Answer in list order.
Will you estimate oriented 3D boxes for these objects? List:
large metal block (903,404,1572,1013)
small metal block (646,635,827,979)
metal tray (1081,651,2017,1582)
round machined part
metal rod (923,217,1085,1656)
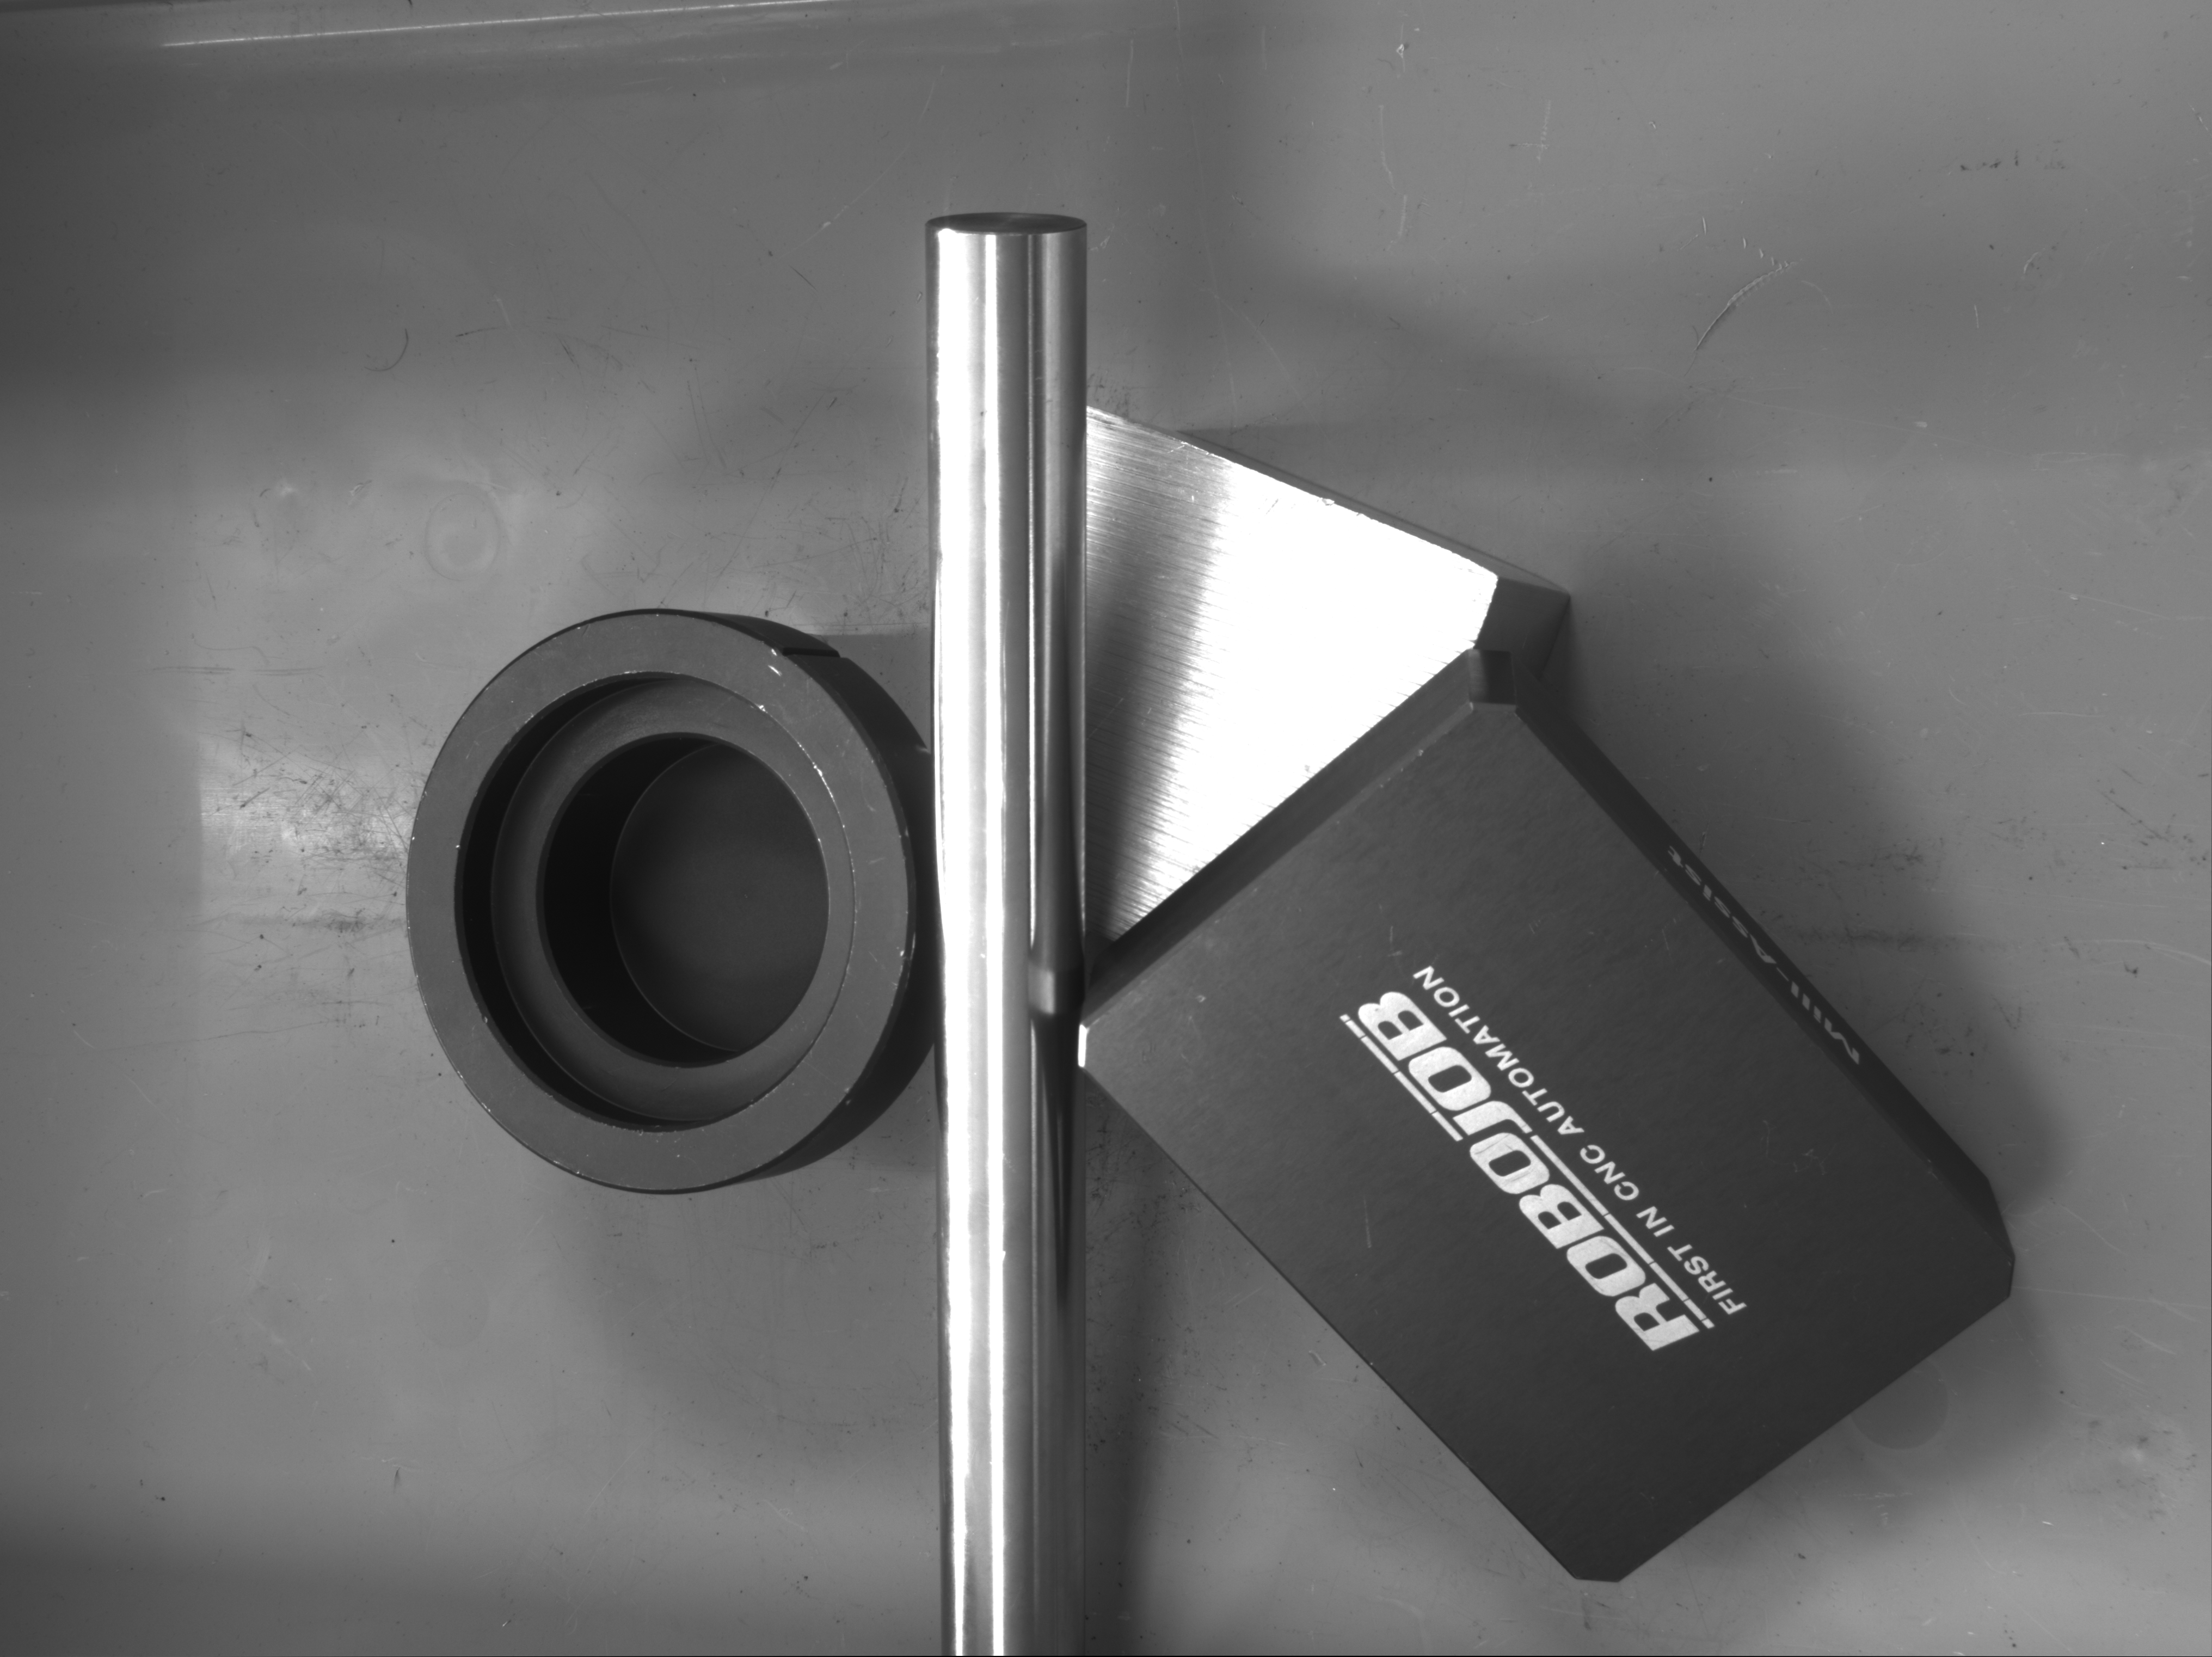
[{"bbox_3d":[0.022,-0.019,0.625,0.080,0.050,0.080,24,98,18],"label":"large metal block"},{"bbox_3d":[-0.069,-0.003,0.671,0.050,0.025,0.050,-23,82,18],"label":"small metal block"},{"bbox_3d":[0.071,0.048,0.590,0.090,0.030,0.130,-40,102,16],"label":"metal tray"},{"bbox_3d":[-0.068,0.012,0.632,0.098,0.042,0.098,0,91,23],"label":"round machined part"},{"bbox_3d":[-0.016,0.050,0.609,0.025,0.025,0.300,6,108,20],"label":"metal rod"}]
